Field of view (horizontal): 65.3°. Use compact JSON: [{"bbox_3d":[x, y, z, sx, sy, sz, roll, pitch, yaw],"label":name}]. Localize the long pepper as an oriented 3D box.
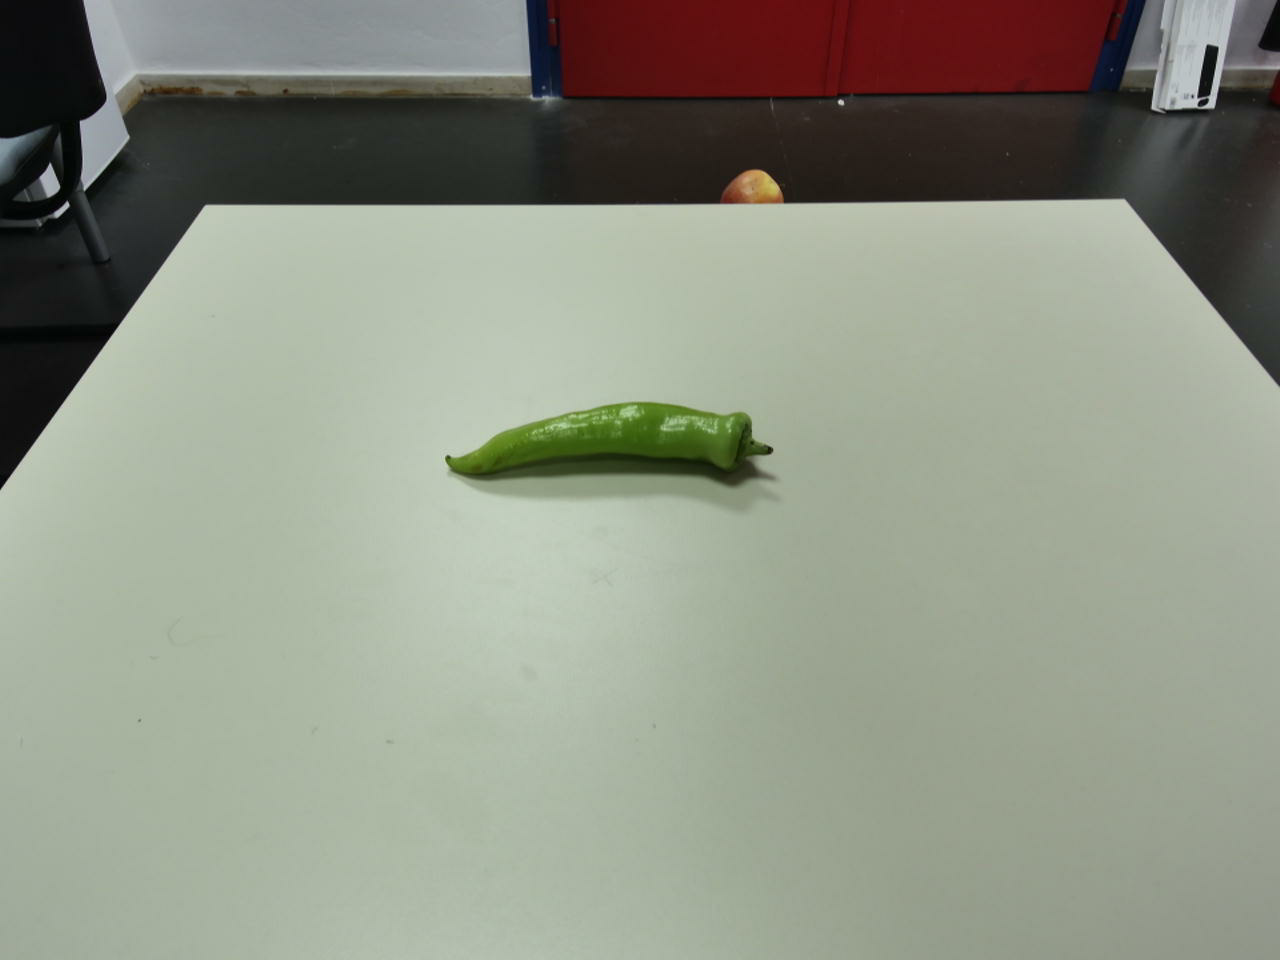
[{"bbox_3d":[-0.019,-0.027,0.603,0.197,0.038,0.046,1,39,2],"label":"long pepper"}]
